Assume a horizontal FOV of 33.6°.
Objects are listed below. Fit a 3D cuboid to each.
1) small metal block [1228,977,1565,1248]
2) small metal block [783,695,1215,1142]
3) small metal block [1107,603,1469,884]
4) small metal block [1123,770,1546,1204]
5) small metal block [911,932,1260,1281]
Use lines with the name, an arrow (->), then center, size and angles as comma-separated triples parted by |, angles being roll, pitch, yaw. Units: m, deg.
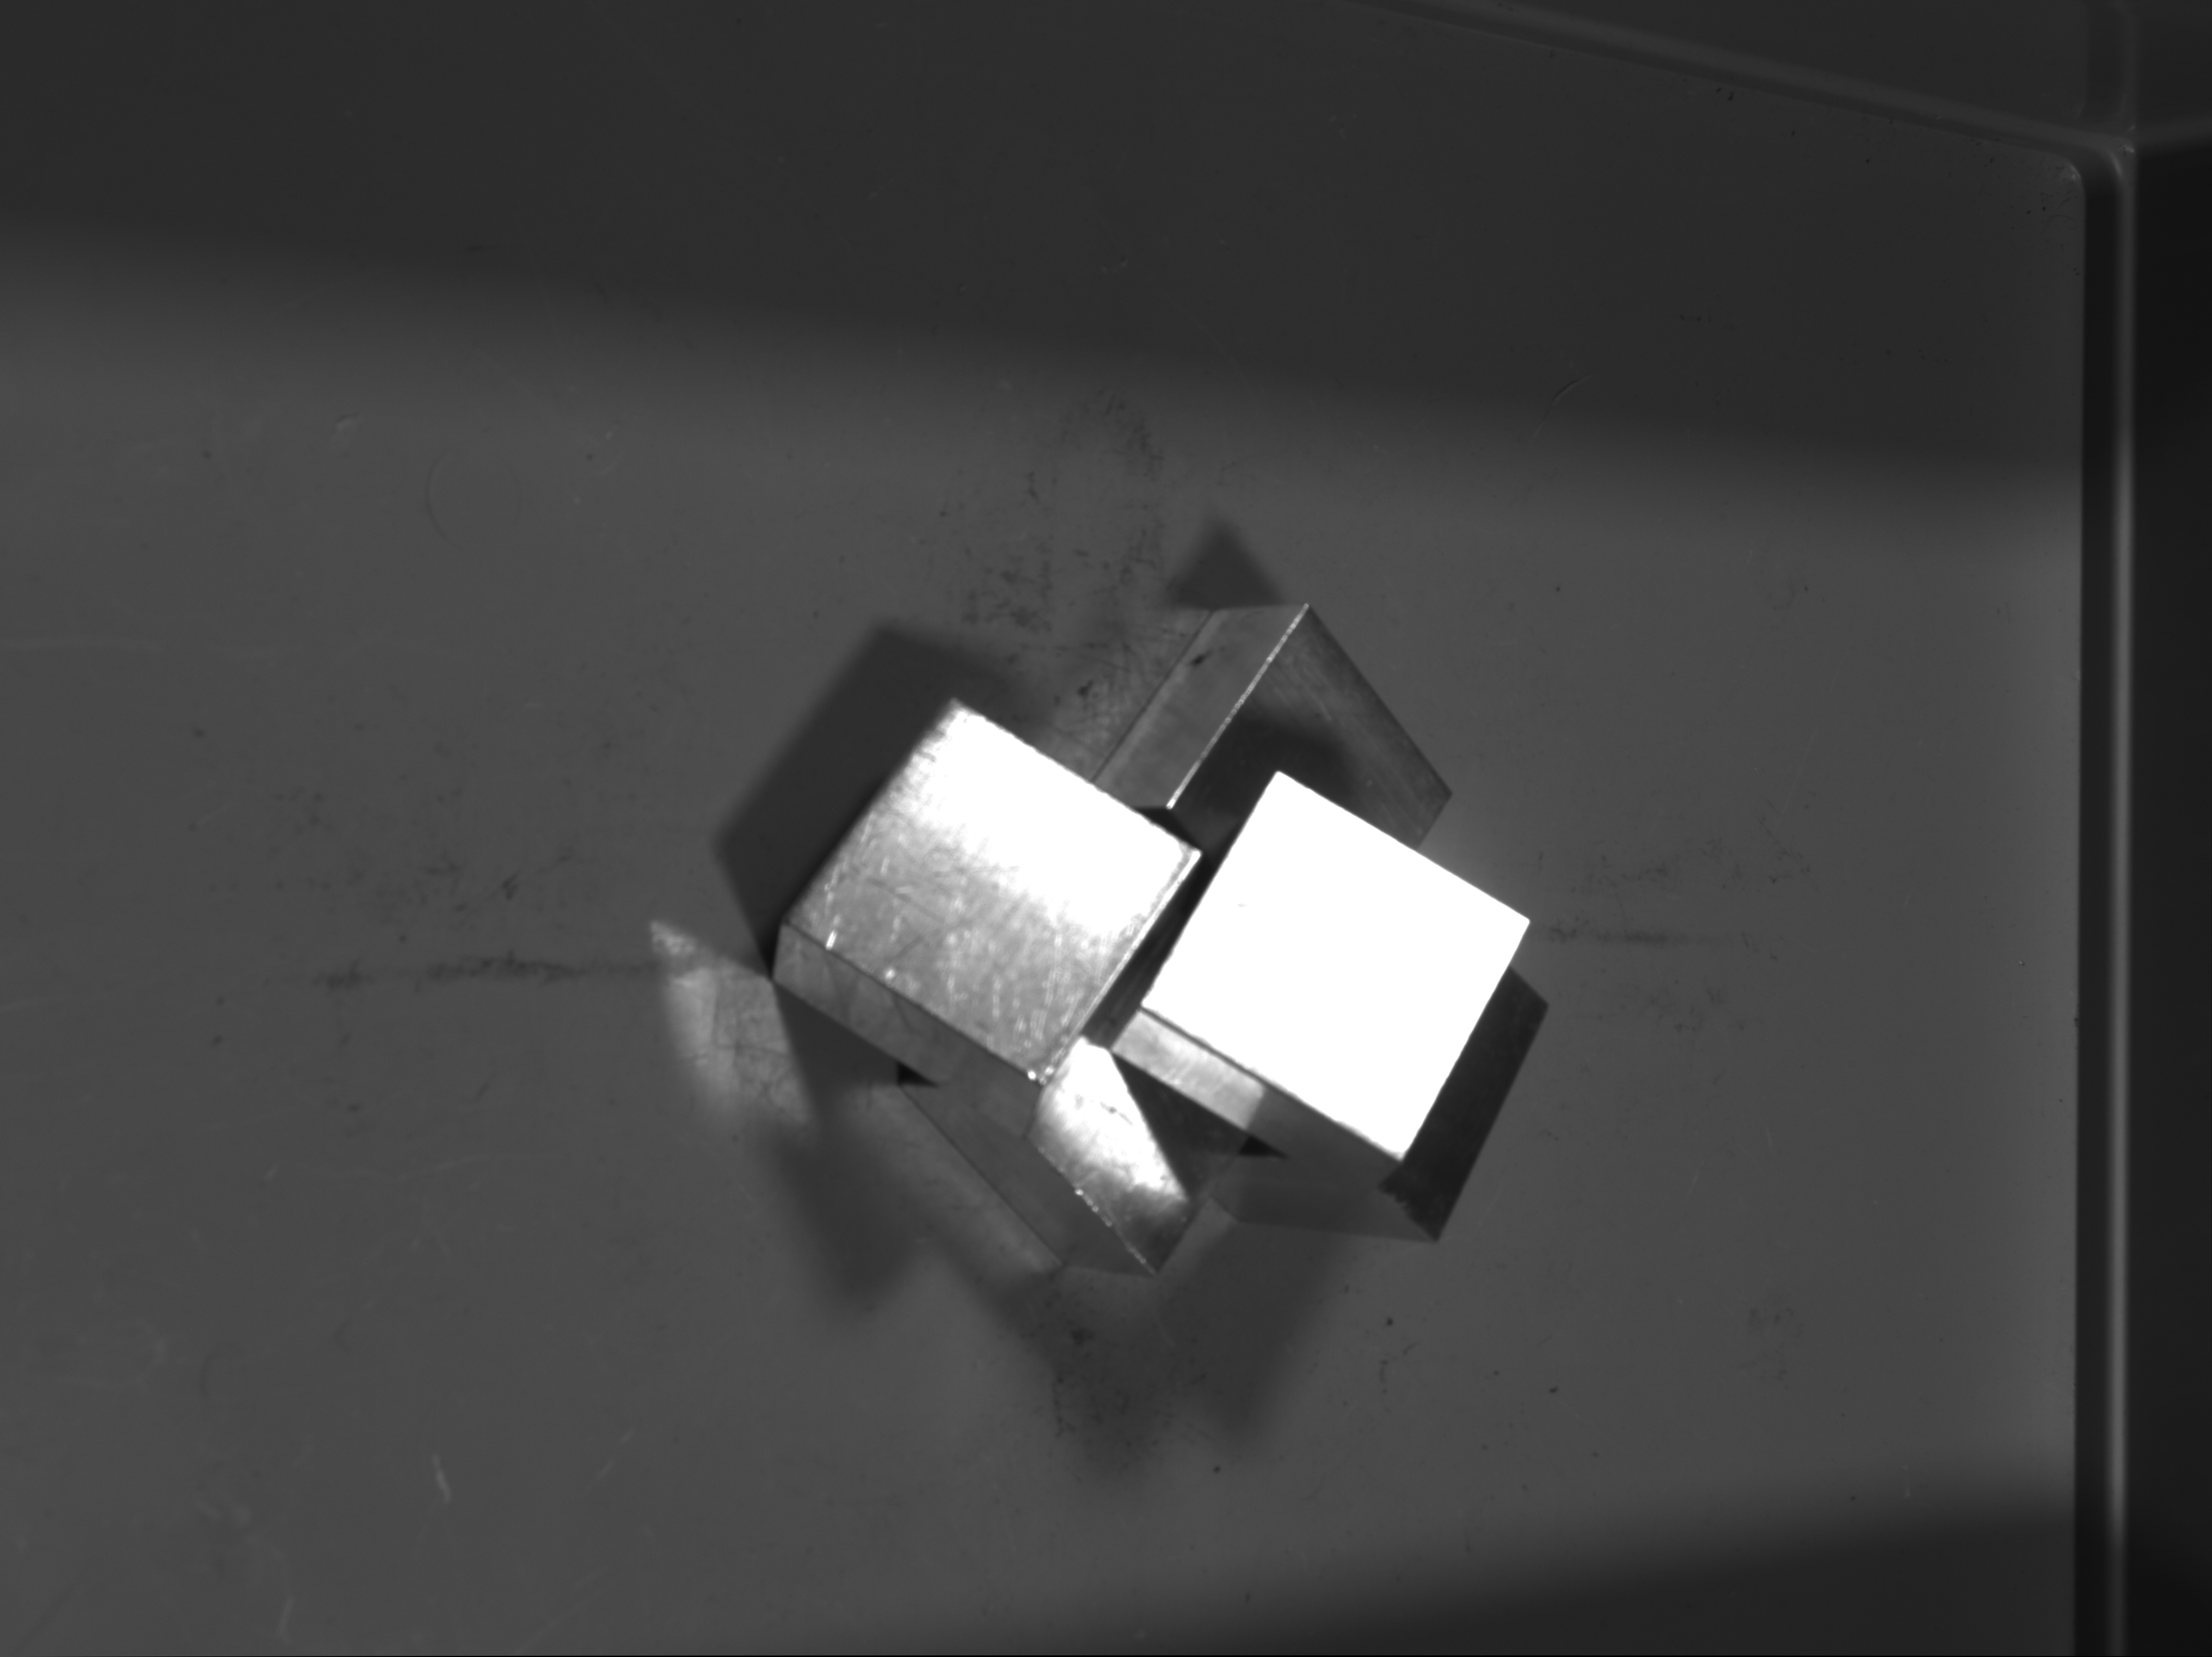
small metal block -> 0.047, 0.045, 0.659 | 0.025, 0.050, 0.050 | 43, 64, -31
small metal block -> -0.018, 0.015, 0.605 | 0.050, 0.025, 0.050 | 32, 65, 6
small metal block -> 0.032, -0.005, 0.662 | 0.050, 0.025, 0.050 | 50, 61, -28
small metal block -> 0.039, 0.027, 0.620 | 0.050, 0.025, 0.050 | 31, 67, 0
small metal block -> 0.002, 0.042, 0.637 | 0.050, 0.025, 0.050 | 50, 61, -28
